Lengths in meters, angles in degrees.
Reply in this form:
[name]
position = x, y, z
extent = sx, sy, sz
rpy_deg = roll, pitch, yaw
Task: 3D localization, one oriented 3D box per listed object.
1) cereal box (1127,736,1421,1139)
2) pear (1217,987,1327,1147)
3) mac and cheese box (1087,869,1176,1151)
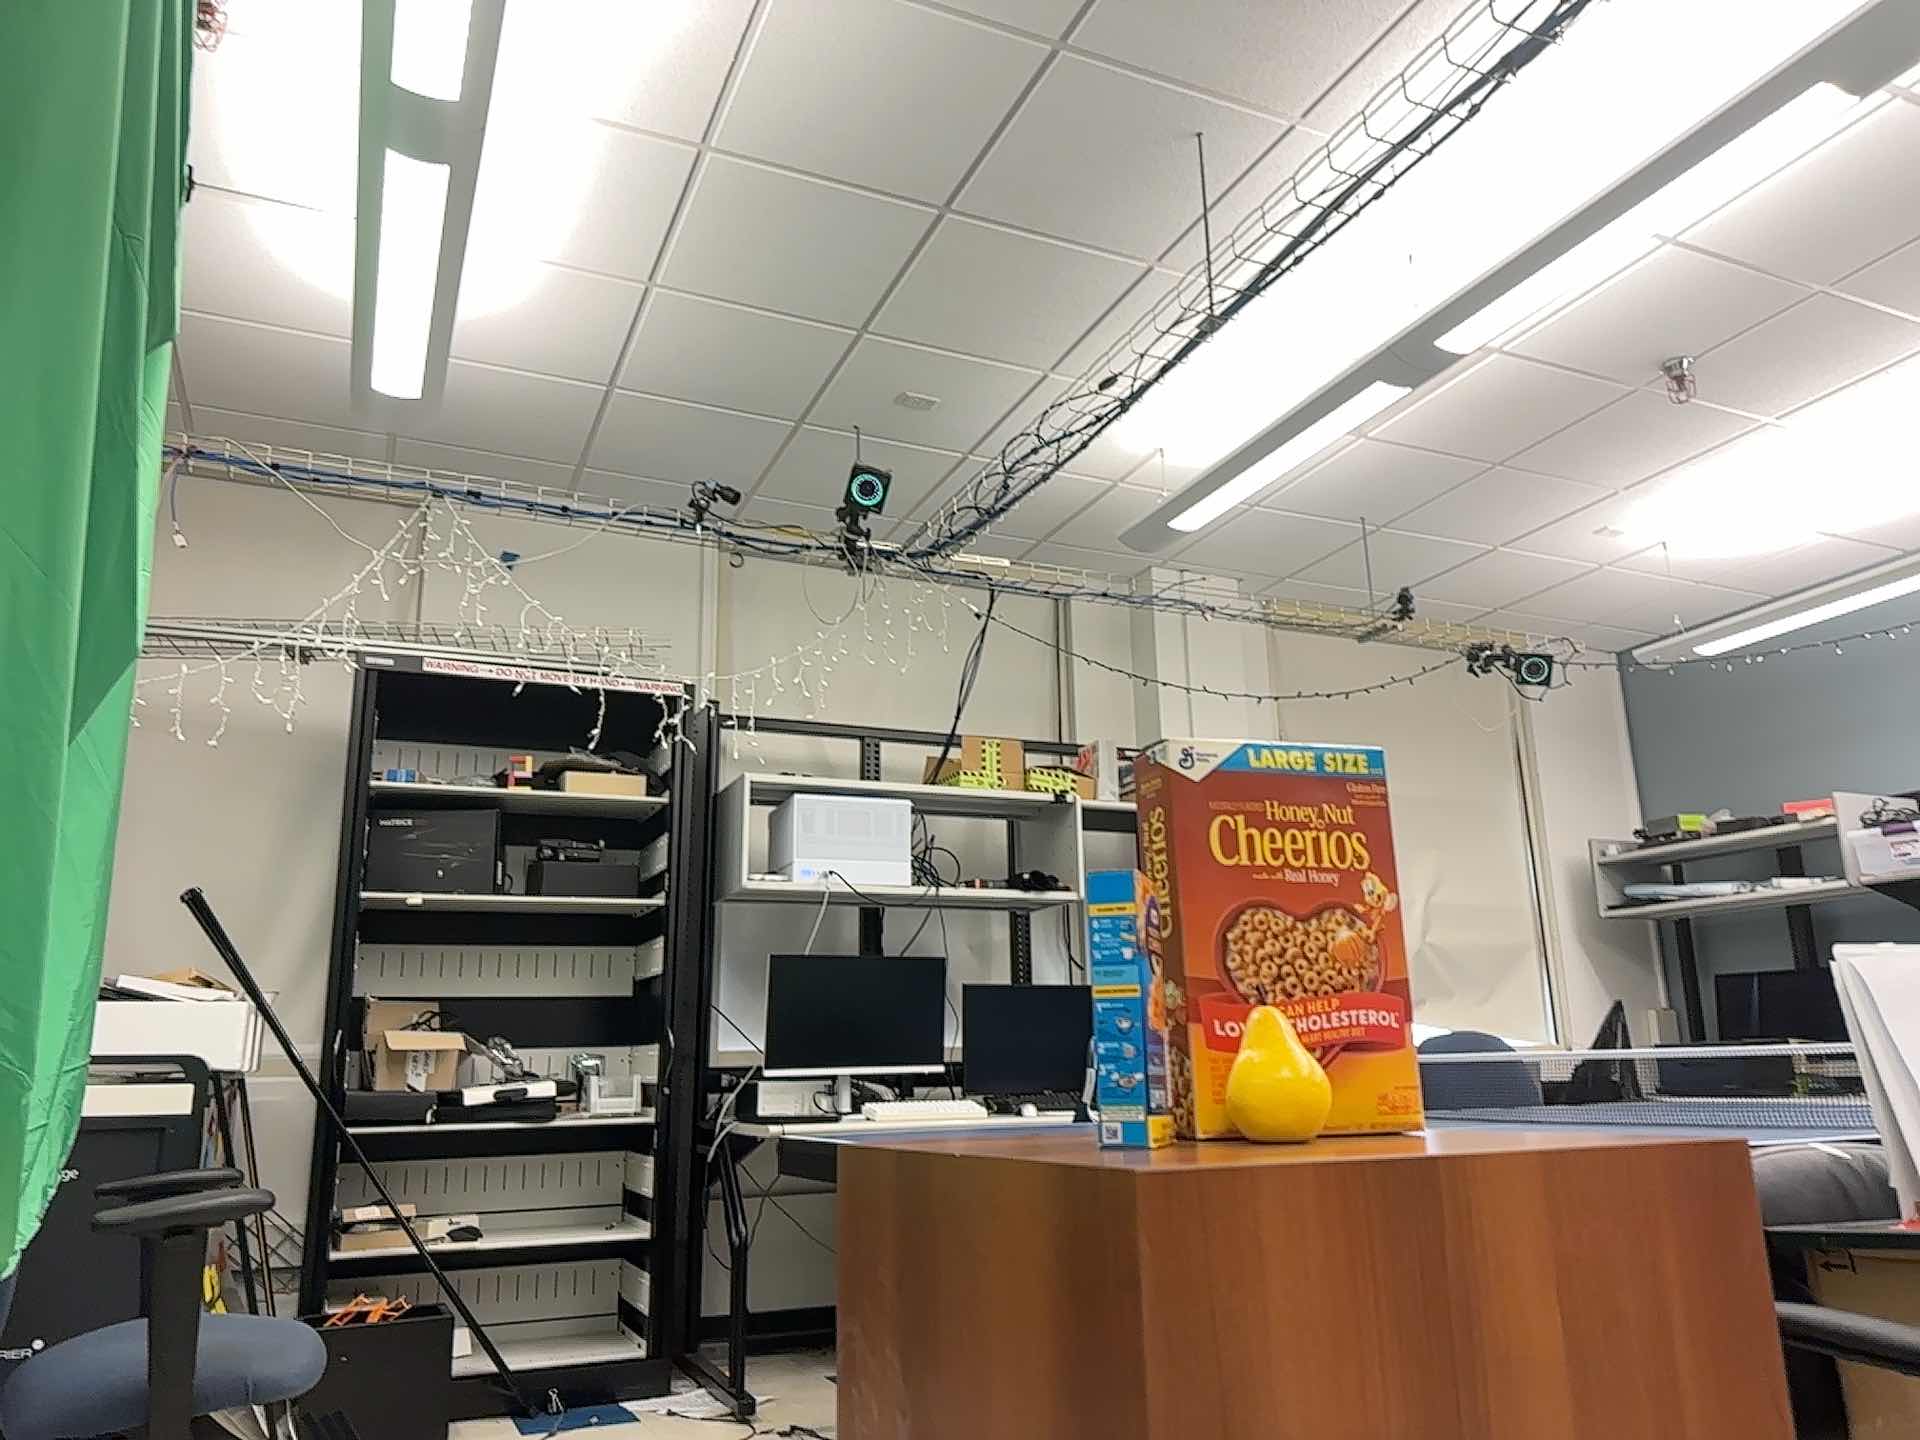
[cereal box]
position = 0.245, 0.168, 1.067
extent = 0.195, 0.297, 0.065
rpy_deg = 4, -15, -18
[pear]
position = 0.218, 0.241, 0.948
extent = 0.080, 0.111, 0.080
rpy_deg = 0, -19, 0
[mac and cheese box]
position = 0.120, 0.202, 0.938
extent = 0.035, 0.181, 0.088
rpy_deg = -6, -16, 21
